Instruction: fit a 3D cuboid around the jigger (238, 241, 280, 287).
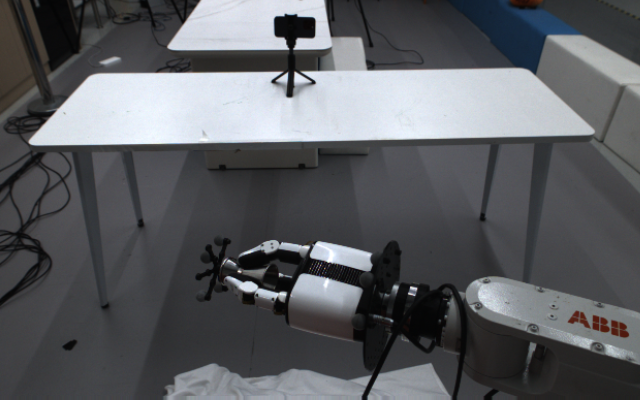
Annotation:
[{"bbox_3d":[-0.090,0.099,0.650,0.071,0.043,0.043,7,34,23],"label":"jigger"}]
